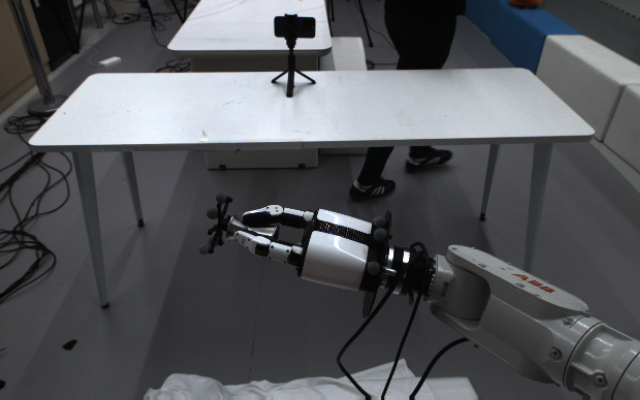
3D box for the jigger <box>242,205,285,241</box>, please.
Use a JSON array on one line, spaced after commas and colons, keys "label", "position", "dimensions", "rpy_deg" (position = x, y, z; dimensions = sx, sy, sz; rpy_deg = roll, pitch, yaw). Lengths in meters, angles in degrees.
[{"label": "jigger", "position": [-0.092, 0.047, 0.707], "dimensions": [0.071, 0.043, 0.043], "rpy_deg": [14, 36, 4]}]
